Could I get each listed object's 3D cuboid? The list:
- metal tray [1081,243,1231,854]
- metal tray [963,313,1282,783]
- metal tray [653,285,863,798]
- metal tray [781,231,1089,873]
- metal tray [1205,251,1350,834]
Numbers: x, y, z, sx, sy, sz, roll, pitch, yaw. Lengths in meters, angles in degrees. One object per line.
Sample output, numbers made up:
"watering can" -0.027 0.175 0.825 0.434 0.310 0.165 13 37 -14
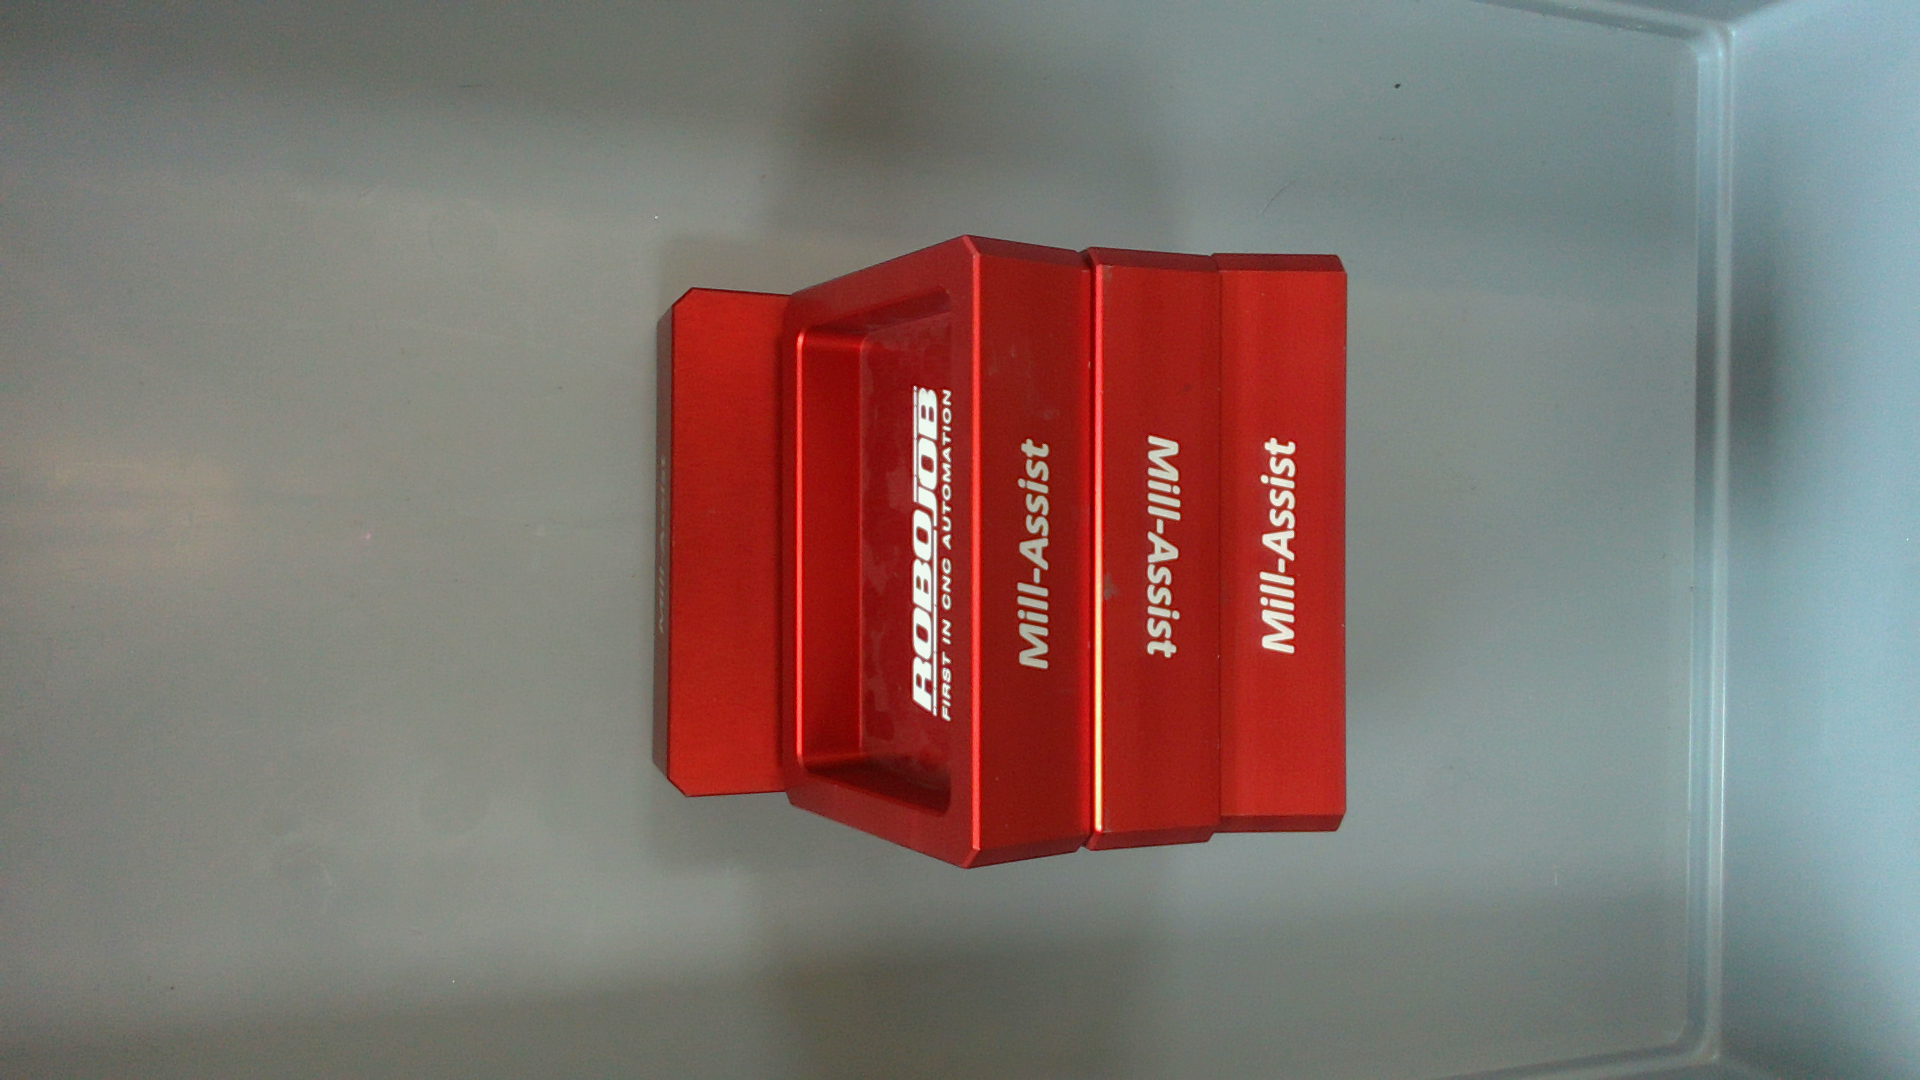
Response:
"metal tray" 0.029 0.003 0.335 0.030 0.090 0.130 0 88 -20
"metal tray" 0.048 0.002 0.407 0.090 0.030 0.130 0 90 -20
"metal tray" -0.037 0.001 0.375 0.090 0.030 0.130 0 90 -20
"metal tray" -0.009 0.002 0.320 0.030 0.090 0.130 0 90 -32
"metal tray" 0.067 0.001 0.348 0.030 0.090 0.130 0 90 -5
